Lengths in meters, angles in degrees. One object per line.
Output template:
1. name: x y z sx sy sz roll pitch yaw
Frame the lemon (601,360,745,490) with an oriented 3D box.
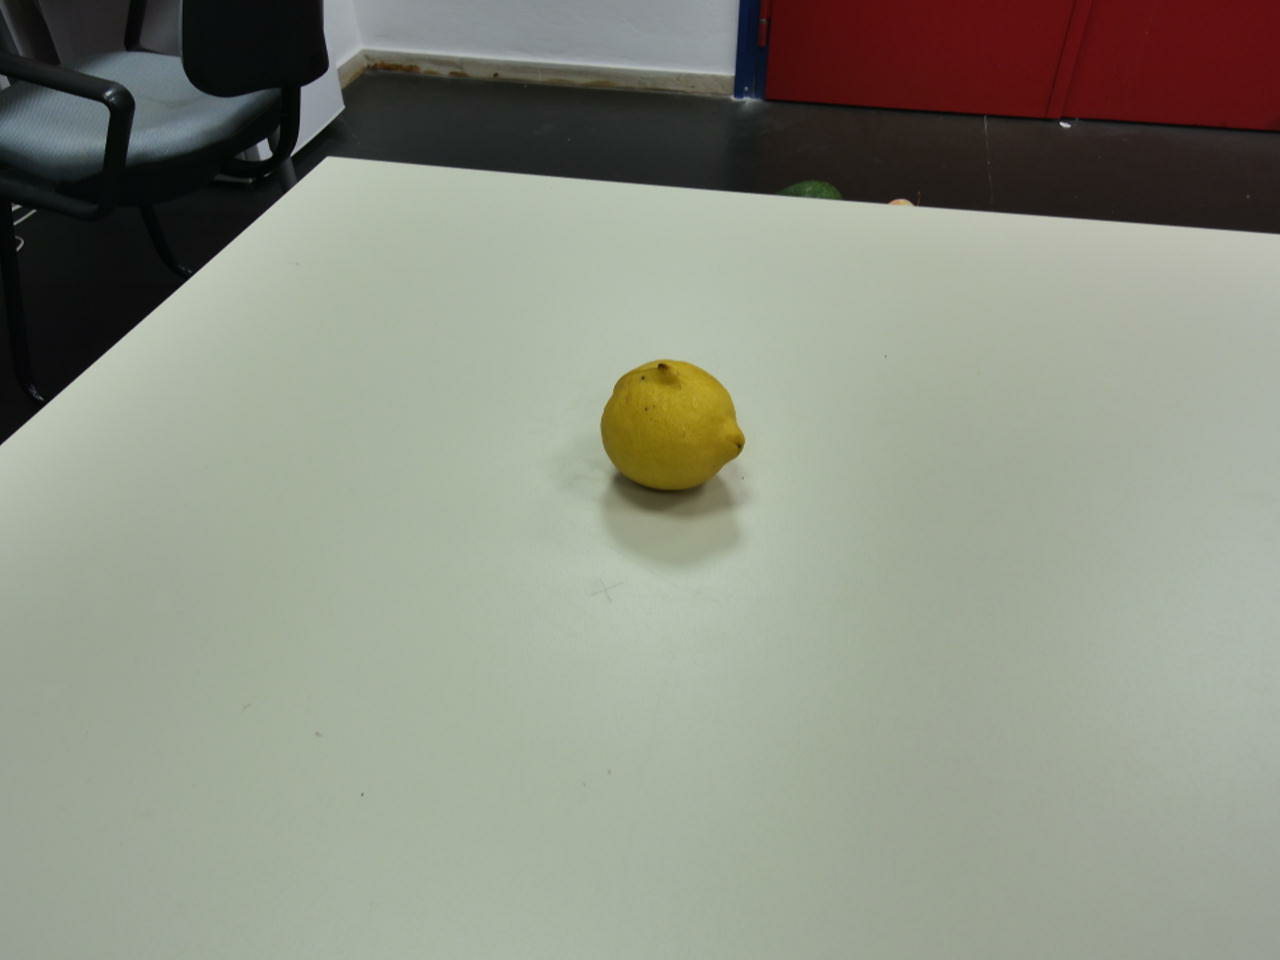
1. lemon: 0.015 -0.031 0.524 0.070 0.071 0.071 -13 41 -16
